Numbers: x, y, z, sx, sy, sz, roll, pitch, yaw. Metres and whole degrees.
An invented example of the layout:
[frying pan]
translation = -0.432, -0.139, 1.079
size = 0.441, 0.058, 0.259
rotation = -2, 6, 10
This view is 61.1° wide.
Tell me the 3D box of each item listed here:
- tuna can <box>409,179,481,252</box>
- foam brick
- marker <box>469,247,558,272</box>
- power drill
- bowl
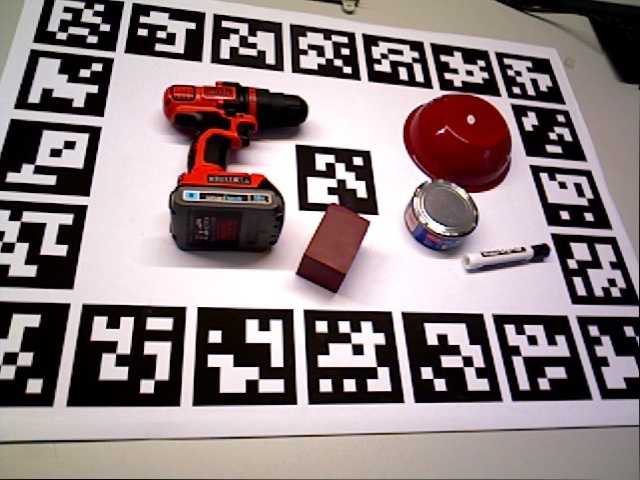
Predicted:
[tuna can]
translation = 0.152, -0.029, 0.658
size = 0.085, 0.034, 0.084
rotation = 7, 60, -13
[foam brick]
translation = 0.017, 0.016, 0.598
size = 0.051, 0.054, 0.076
rotation = 24, 59, -1
[marker]
translation = 0.237, 0.023, 0.657
size = 0.119, 0.020, 0.019
rotation = -6, 64, -17
[power drill]
translation = -0.101, -0.090, 0.622
size = 0.182, 0.059, 0.185
rotation = 3, 58, -16
[bowl]
translation = 0.190, -0.139, 0.729
size = 0.160, 0.056, 0.159
rotation = 5, 54, -7
